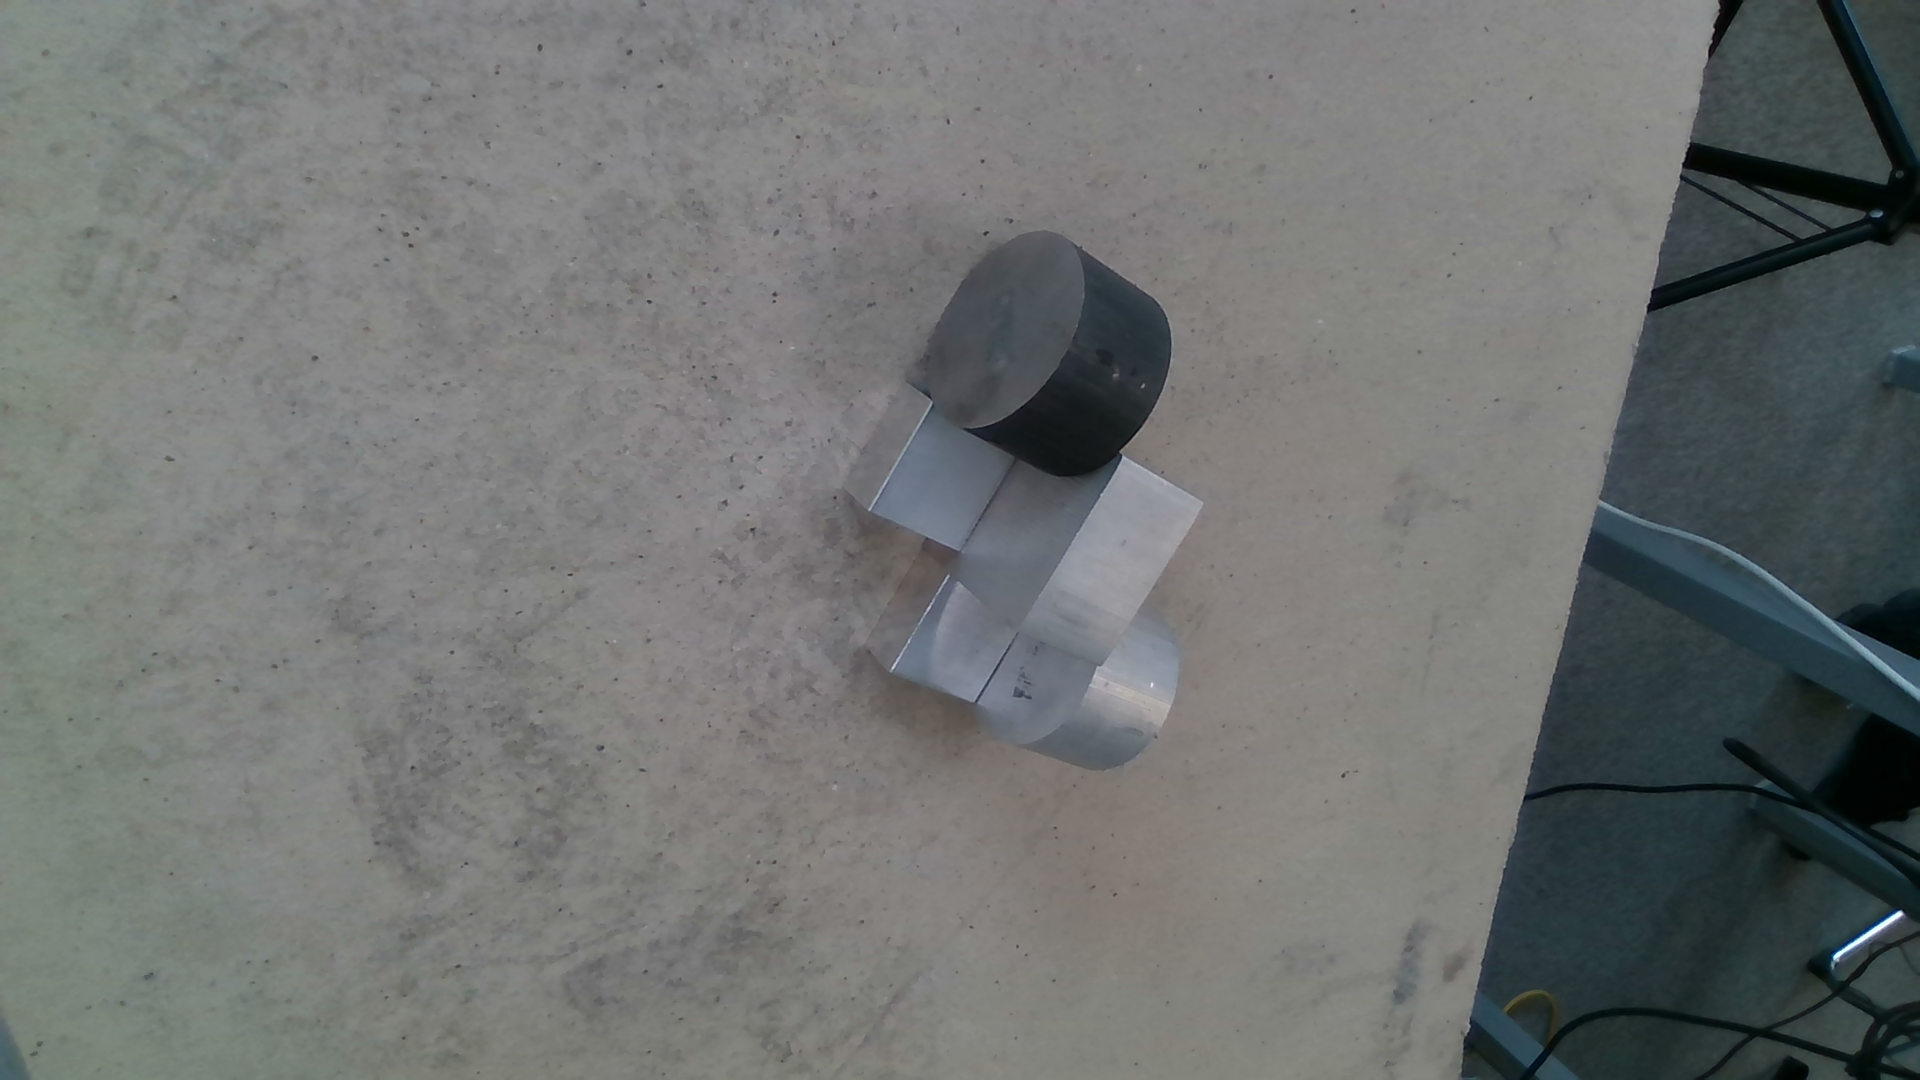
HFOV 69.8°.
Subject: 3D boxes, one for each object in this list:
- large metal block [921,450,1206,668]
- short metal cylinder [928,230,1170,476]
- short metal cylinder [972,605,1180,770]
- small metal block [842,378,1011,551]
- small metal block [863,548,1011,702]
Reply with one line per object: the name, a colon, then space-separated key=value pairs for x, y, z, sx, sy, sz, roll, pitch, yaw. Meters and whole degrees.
large metal block: x=0.040 y=-0.007 z=0.568 sx=0.050 sy=0.080 sz=0.080 roll=24 pitch=101 yaw=-38
short metal cylinder: x=0.033 y=-0.071 z=0.528 sx=0.050 sy=0.080 sz=0.080 roll=24 pitch=101 yaw=-38
short metal cylinder: x=0.049 y=0.056 z=0.607 sx=0.050 sy=0.080 sz=0.080 roll=24 pitch=101 yaw=-38
small metal block: x=-0.012 y=-0.030 z=0.559 sx=0.050 sy=0.025 sz=0.050 roll=24 pitch=101 yaw=-38
small metal block: x=-0.005 y=0.037 z=0.599 sx=0.050 sy=0.025 sz=0.050 roll=24 pitch=101 yaw=-38
